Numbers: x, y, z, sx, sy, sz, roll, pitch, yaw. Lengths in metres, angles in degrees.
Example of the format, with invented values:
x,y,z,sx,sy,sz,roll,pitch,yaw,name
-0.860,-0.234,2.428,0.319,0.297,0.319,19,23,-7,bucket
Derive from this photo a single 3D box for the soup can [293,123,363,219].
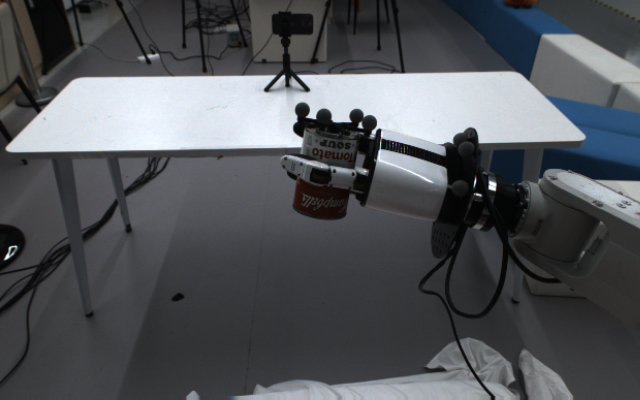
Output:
x,y,z,sx,sy,sz,roll,pitch,yaw,name
0.009,-0.035,0.579,0.067,0.101,0.067,9,19,-3,soup can
